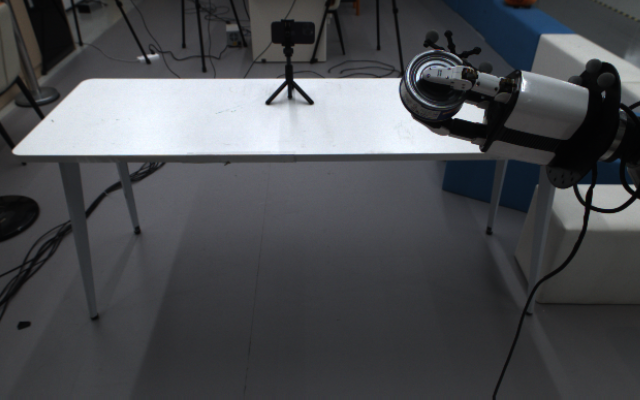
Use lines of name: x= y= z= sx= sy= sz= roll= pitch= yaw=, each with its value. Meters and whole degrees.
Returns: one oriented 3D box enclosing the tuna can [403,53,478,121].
tuna can: x=0.150 y=-0.139 z=0.608 sx=0.085 sy=0.034 sz=0.085 roll=0 pitch=74 yaw=-1
